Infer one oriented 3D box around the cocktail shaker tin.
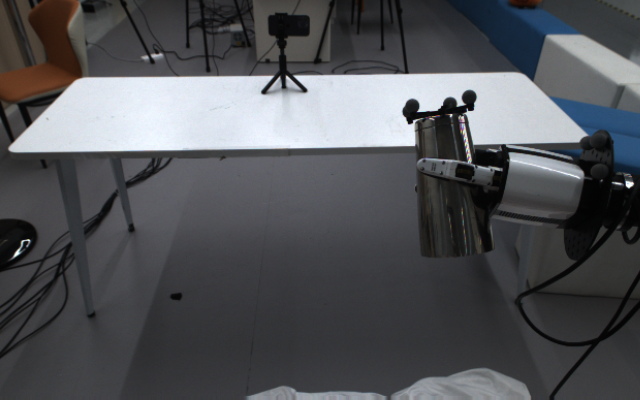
[{"bbox_3d":[0.165,-0.019,0.617,0.093,0.170,0.093,-8,1,0],"label":"cocktail shaker tin"}]
